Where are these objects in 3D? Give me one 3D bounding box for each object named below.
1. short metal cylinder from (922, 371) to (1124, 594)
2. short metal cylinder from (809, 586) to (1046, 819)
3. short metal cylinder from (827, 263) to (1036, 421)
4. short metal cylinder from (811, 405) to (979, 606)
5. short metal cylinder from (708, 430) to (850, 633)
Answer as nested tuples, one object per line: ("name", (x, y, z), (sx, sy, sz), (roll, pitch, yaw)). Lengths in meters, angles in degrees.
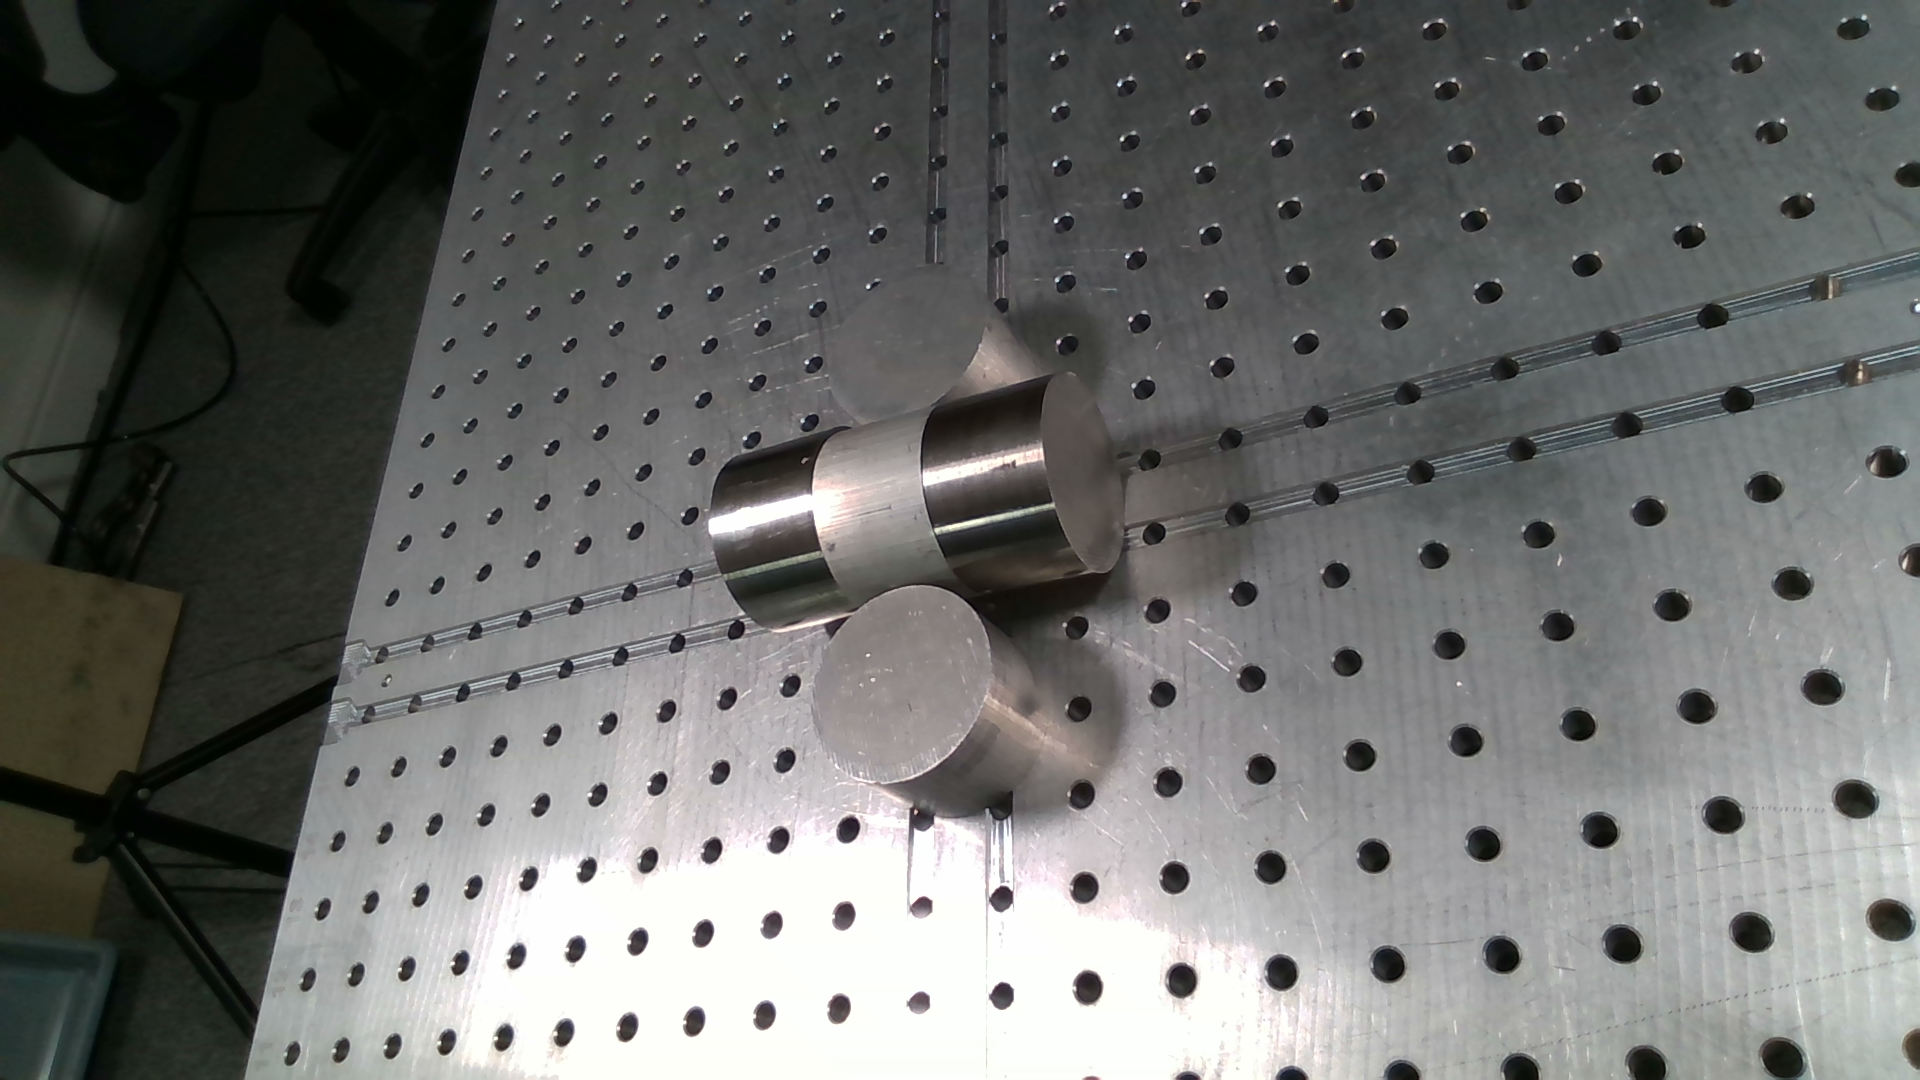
("short metal cylinder", (0.027, -0.022, 0.547), (0.050, 0.080, 0.080), (-12, 60, 26))
("short metal cylinder", (-0.012, 0.065, 0.545), (0.080, 0.050, 0.080), (-14, 59, 25))
("short metal cylinder", (-0.013, -0.077, 0.620), (0.080, 0.050, 0.080), (-14, 59, 25))
("short metal cylinder", (-0.018, -0.012, 0.570), (0.050, 0.080, 0.080), (-13, 60, 26))
("short metal cylinder", (-0.063, -0.004, 0.594), (0.050, 0.080, 0.080), (-13, 59, 26))
